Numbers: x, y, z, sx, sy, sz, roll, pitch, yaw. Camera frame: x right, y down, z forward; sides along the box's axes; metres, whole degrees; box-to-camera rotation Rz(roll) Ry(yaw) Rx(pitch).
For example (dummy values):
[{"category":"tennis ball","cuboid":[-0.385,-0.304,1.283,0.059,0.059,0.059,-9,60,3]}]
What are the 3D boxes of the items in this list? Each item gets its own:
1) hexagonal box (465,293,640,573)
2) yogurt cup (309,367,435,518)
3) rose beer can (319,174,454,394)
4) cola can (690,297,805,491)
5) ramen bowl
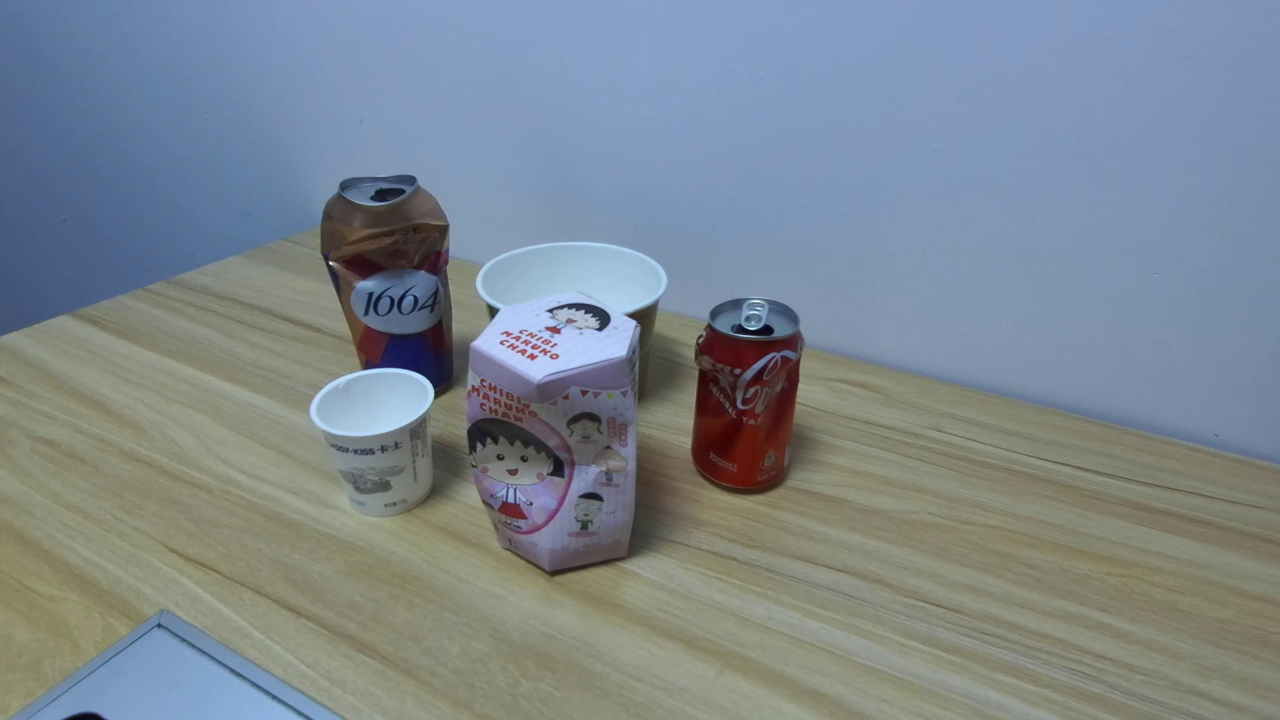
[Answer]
[{"category":"hexagonal box","cuboid":[-0.045,0.041,0.395,0.089,0.135,0.093,2,31,1]},{"category":"yogurt cup","cuboid":[-0.158,0.053,0.434,0.072,0.068,0.072,1,31,0]},{"category":"rose beer can","cuboid":[-0.178,-0.050,0.518,0.067,0.162,0.074,23,37,33]},{"category":"cola can","cuboid":[0.068,0.021,0.448,0.066,0.117,0.066,-19,36,-31]},{"category":"ramen bowl","cuboid":[-0.053,-0.025,0.568,0.140,0.095,0.140,2,31,-1]}]
